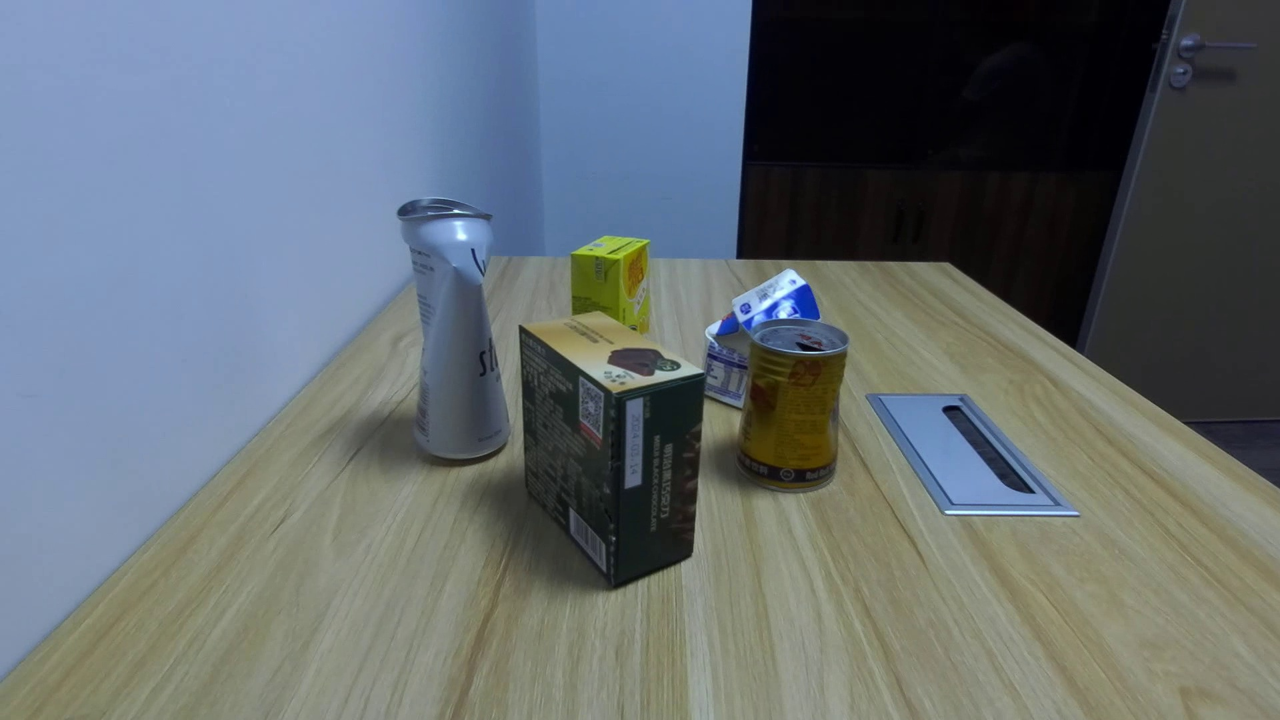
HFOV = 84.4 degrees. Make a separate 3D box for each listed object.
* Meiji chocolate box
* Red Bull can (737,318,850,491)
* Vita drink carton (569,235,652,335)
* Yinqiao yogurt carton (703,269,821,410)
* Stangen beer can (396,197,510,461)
[{"bbox_3d":[-0.019,0.043,0.384,0.056,0.109,0.109,-12,26,-30],"label":"Meiji chocolate box"},{"bbox_3d":[0.095,0.027,0.440,0.069,0.092,0.069,0,23,0],"label":"Red Bull can"},{"bbox_3d":[-0.023,-0.040,0.572,0.043,0.109,0.067,9,25,21],"label":"Vita drink carton"},{"bbox_3d":[0.098,-0.019,0.544,0.077,0.093,0.083,19,28,37],"label":"Yinqiao yogurt carton"},{"bbox_3d":[-0.119,-0.017,0.454,0.077,0.162,0.066,9,25,16],"label":"Stangen beer can"}]
